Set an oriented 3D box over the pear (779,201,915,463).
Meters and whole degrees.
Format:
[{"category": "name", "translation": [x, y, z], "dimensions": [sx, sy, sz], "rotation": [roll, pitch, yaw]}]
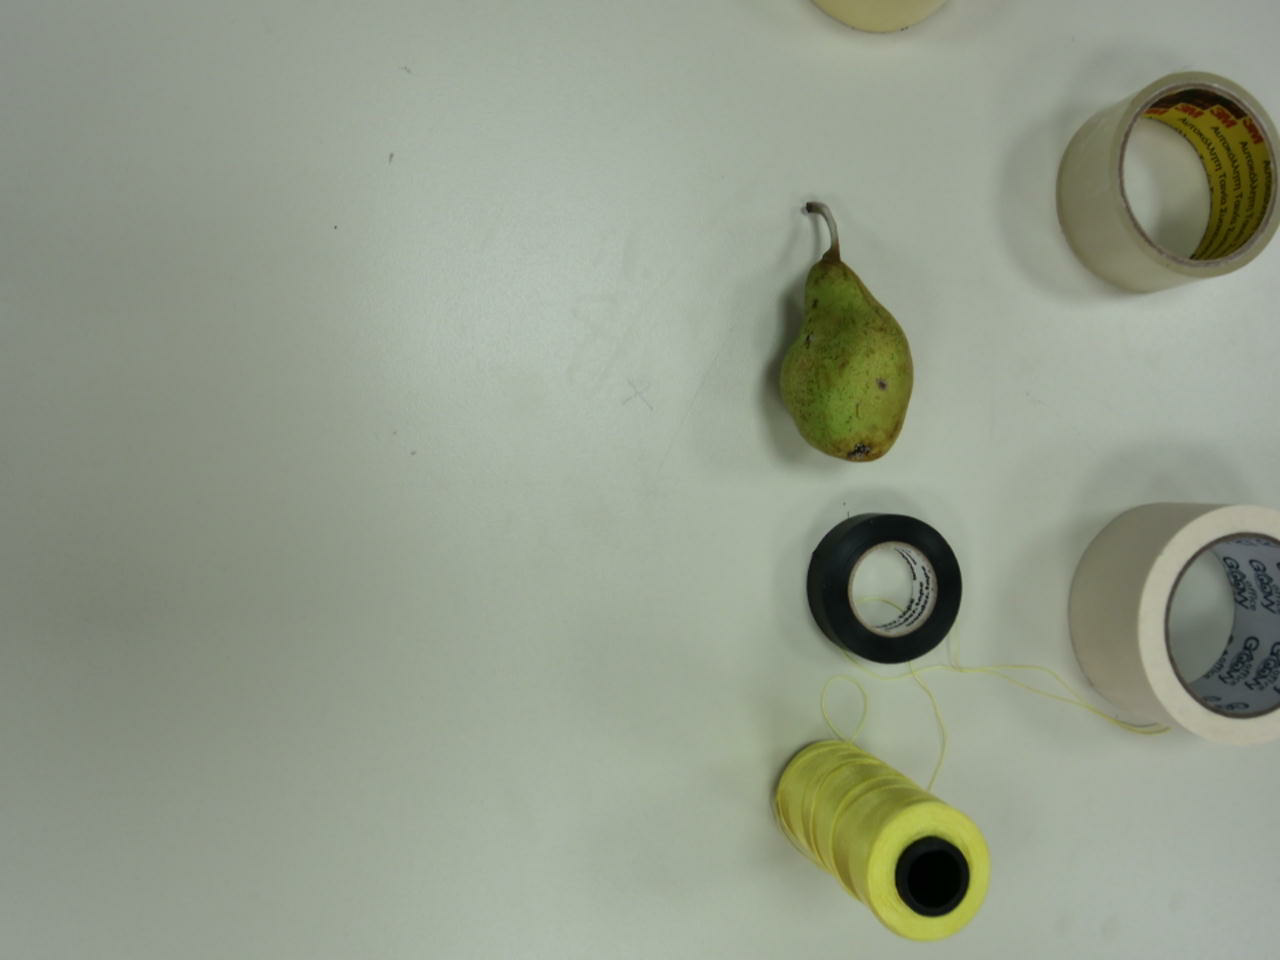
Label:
[{"category": "pear", "translation": [0.092, -0.063, 0.424], "dimensions": [0.056, 0.056, 0.111], "rotation": [15, 87, -11]}]
